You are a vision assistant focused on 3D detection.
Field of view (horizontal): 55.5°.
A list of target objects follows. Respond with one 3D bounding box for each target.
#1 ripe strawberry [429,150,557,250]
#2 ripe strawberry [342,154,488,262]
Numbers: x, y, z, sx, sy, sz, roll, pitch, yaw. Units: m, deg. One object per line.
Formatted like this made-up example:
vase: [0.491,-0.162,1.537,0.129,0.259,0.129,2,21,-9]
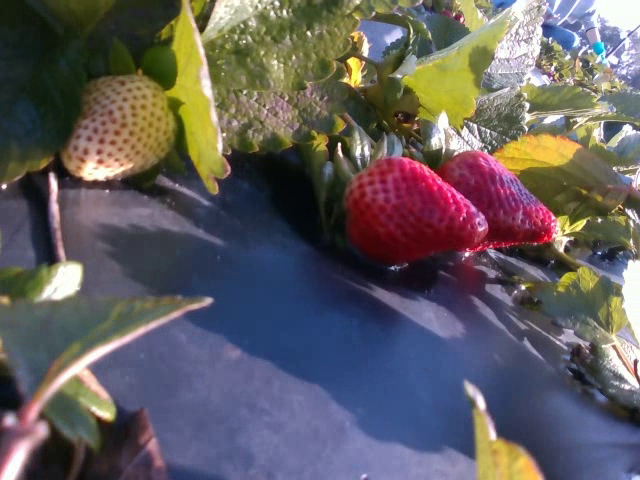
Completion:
ripe strawberry: [0.067,-0.011,0.230,0.057,0.046,0.052,26,46,26]
ripe strawberry: [0.032,-0.007,0.187,0.051,0.037,0.043,23,52,21]
